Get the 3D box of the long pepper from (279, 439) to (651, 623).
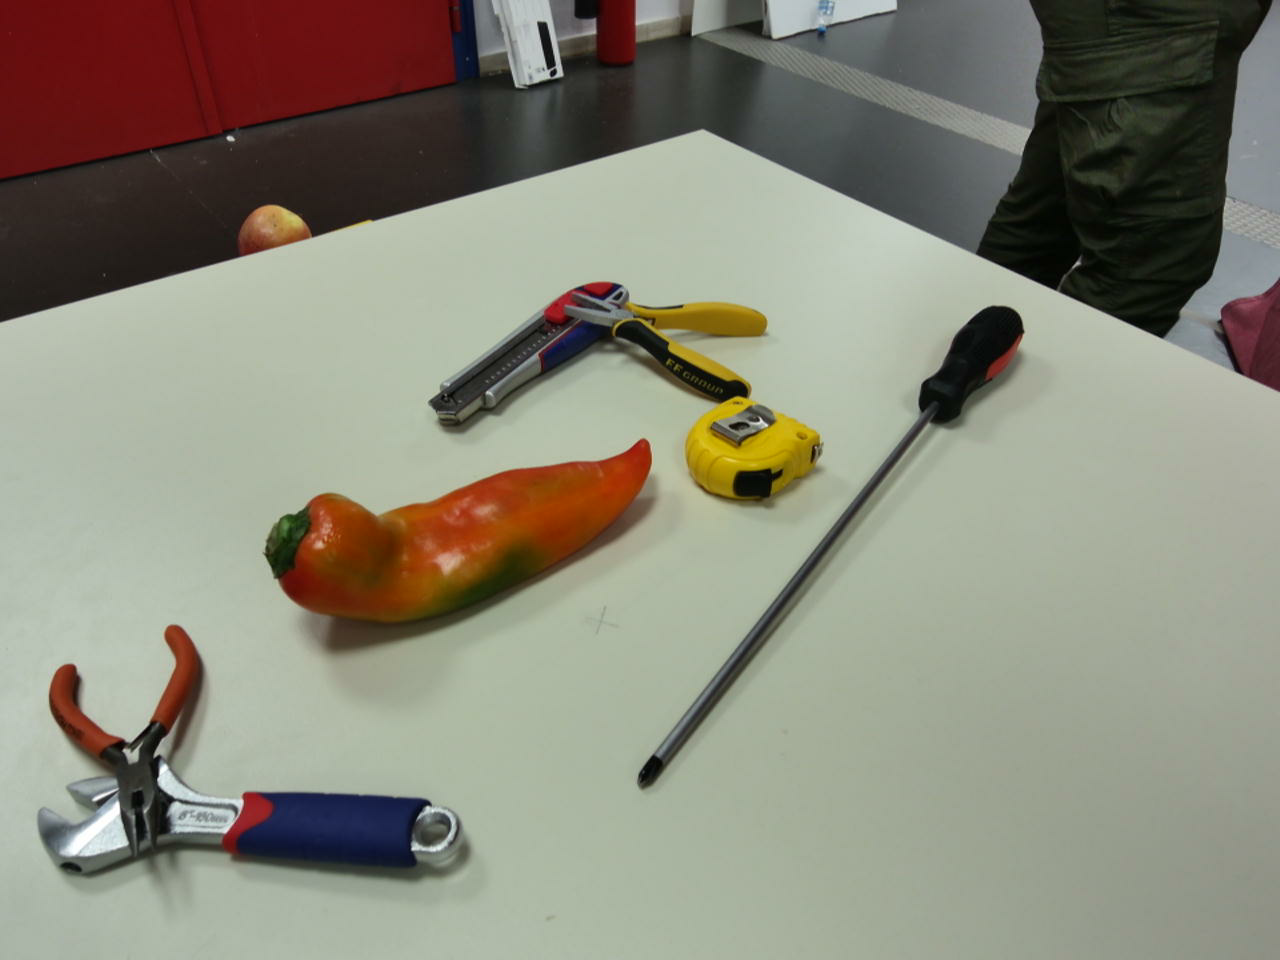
[{"bbox_3d":[-0.074,0.013,0.482,0.199,0.065,0.066,-22,43,-25],"label":"long pepper"}]
